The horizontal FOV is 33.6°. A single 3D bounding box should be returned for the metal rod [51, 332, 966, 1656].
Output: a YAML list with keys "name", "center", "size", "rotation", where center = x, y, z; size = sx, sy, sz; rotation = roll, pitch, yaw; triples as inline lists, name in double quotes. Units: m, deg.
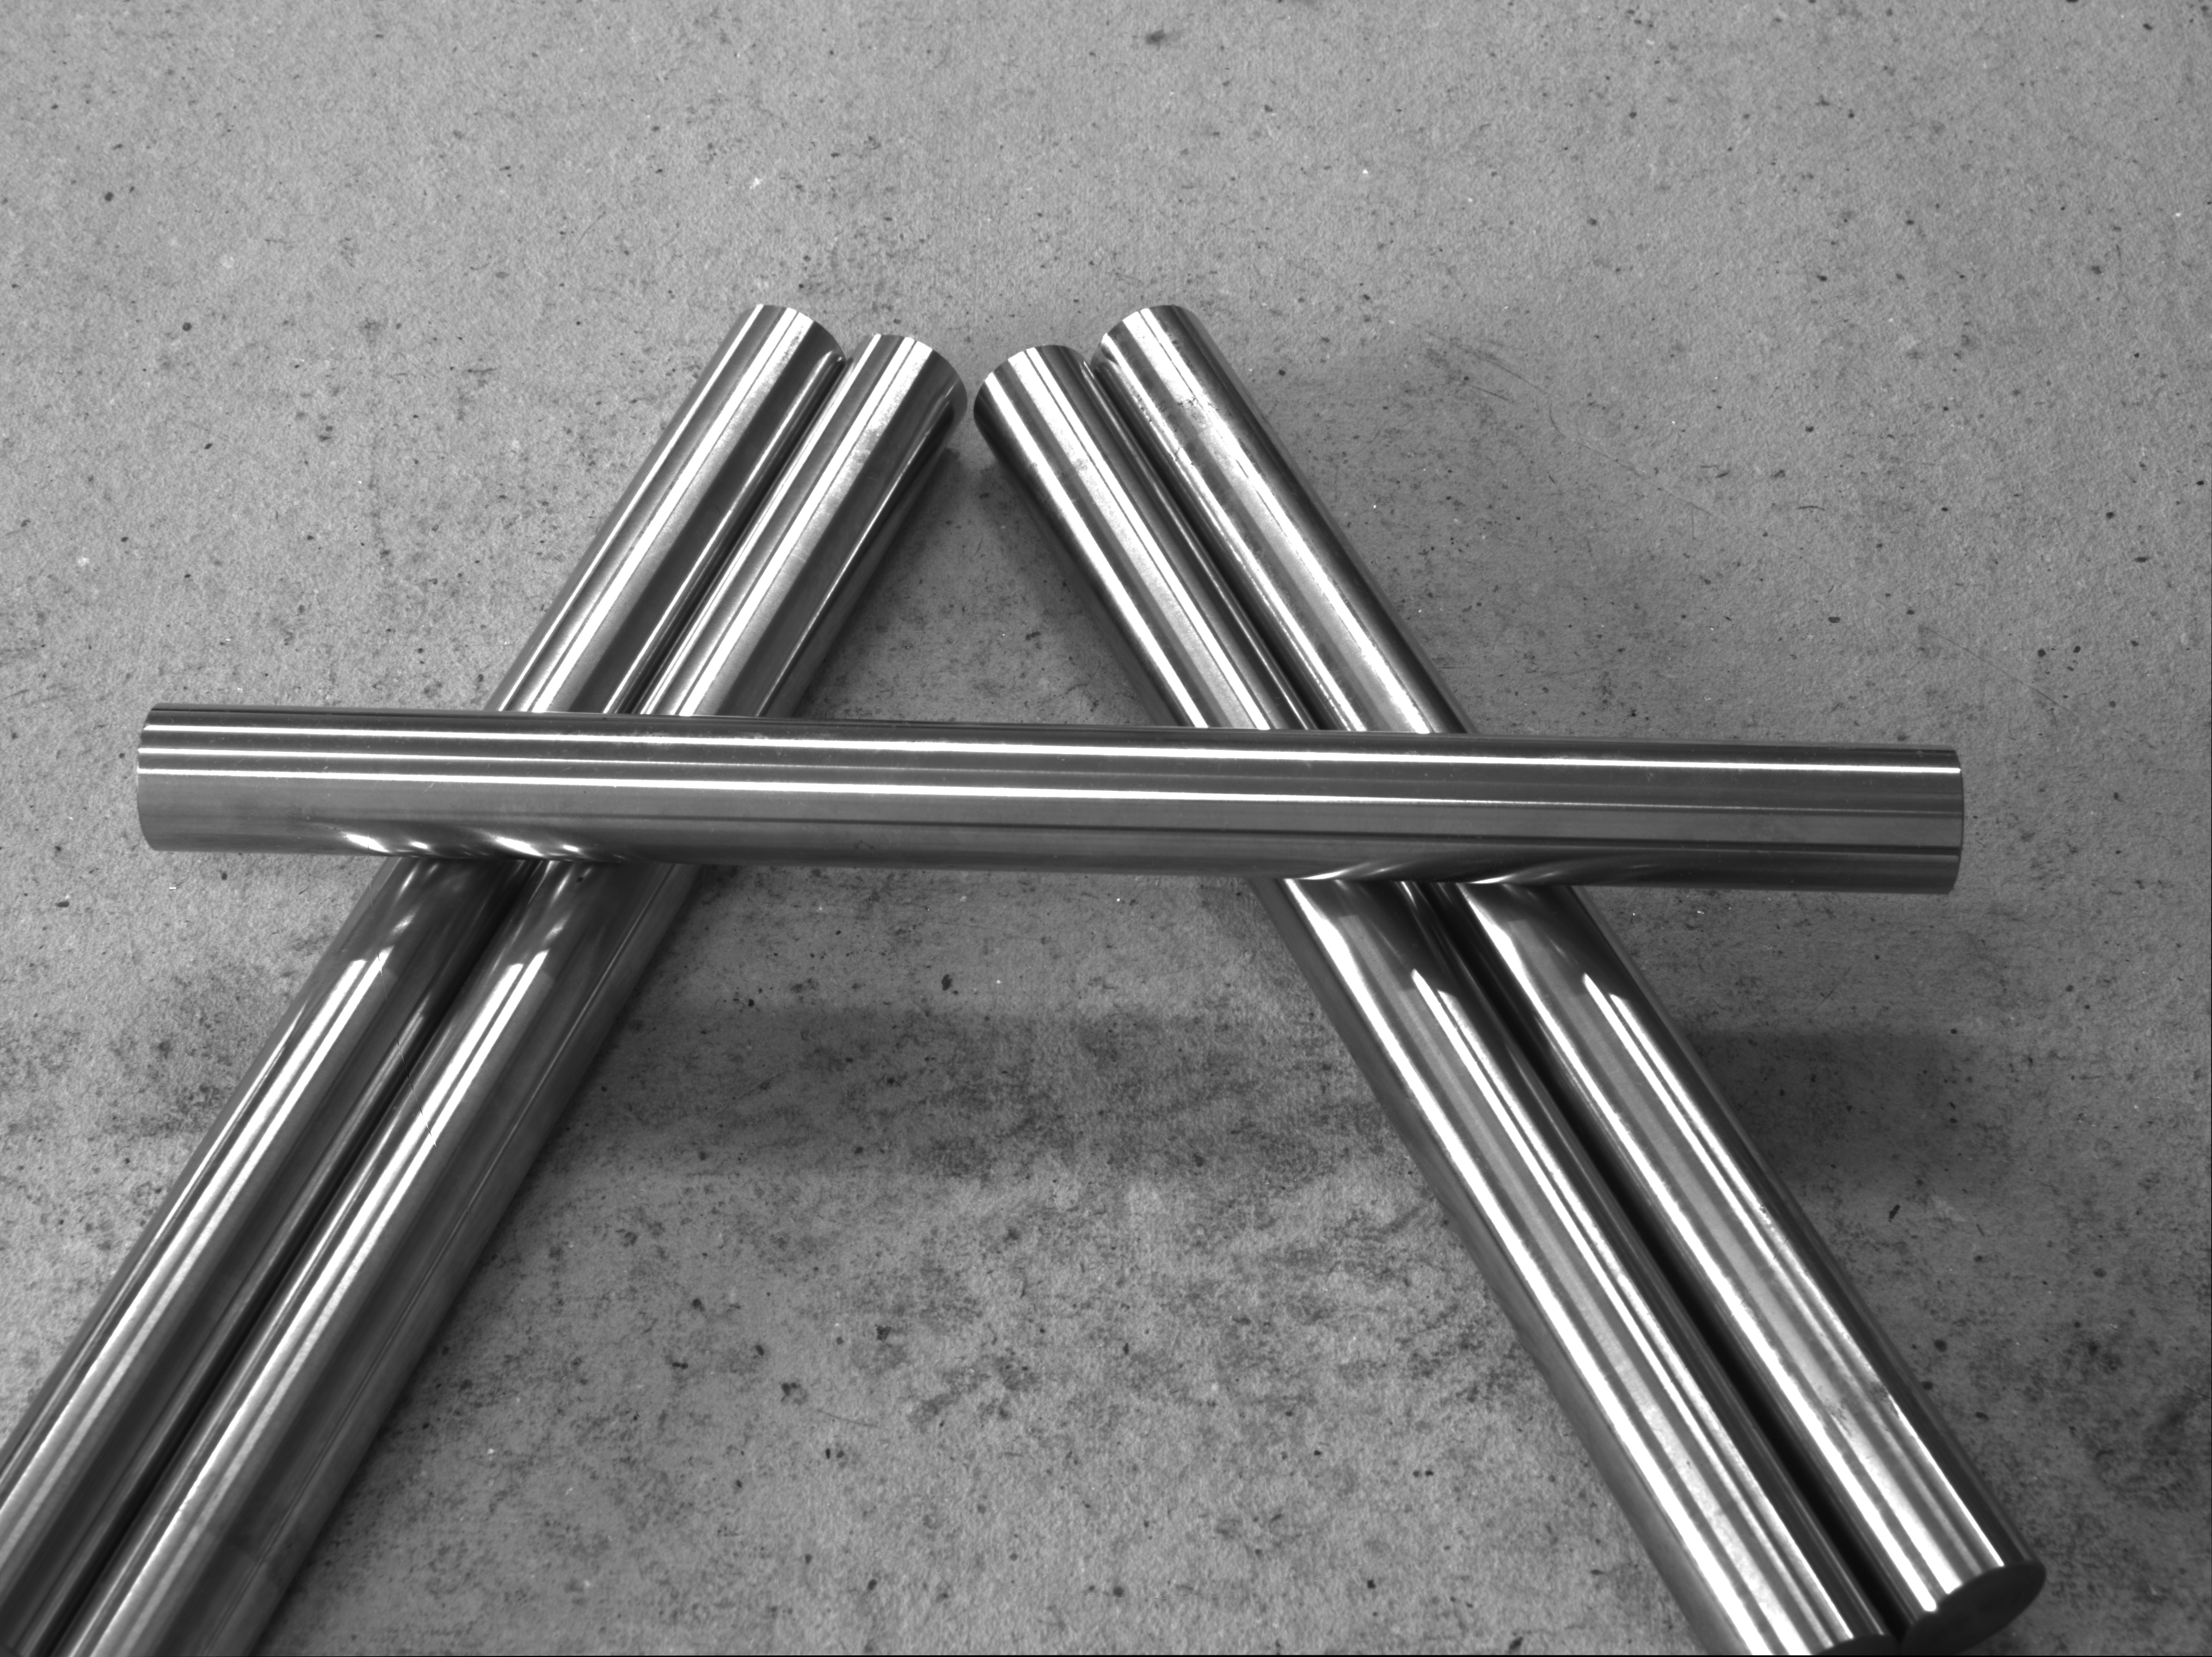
- name: "metal rod"
  center: [-0.091, 0.021, 0.624]
  size: [0.025, 0.025, 0.300]
  rotation: [16, 52, 13]

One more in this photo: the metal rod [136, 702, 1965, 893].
- name: "metal rod"
  center: [-0.009, -0.005, 0.613]
  size: [0.300, 0.025, 0.025]
  rotation: [1, 50, 1]

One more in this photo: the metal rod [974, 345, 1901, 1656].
- name: "metal rod"
  center: [0.046, 0.021, 0.625]
  size: [0.025, 0.025, 0.299]
  rotation: [-19, 52, -15]

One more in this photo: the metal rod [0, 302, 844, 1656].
- name: "metal rod"
  center: [-0.115, 0.014, 0.630]
  size: [0.025, 0.025, 0.300]
  rotation: [16, 52, 13]

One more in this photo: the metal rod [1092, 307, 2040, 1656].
- name: "metal rod"
  center: [0.068, 0.012, 0.632]
  size: [0.025, 0.025, 0.299]
  rotation: [-19, 52, -15]
